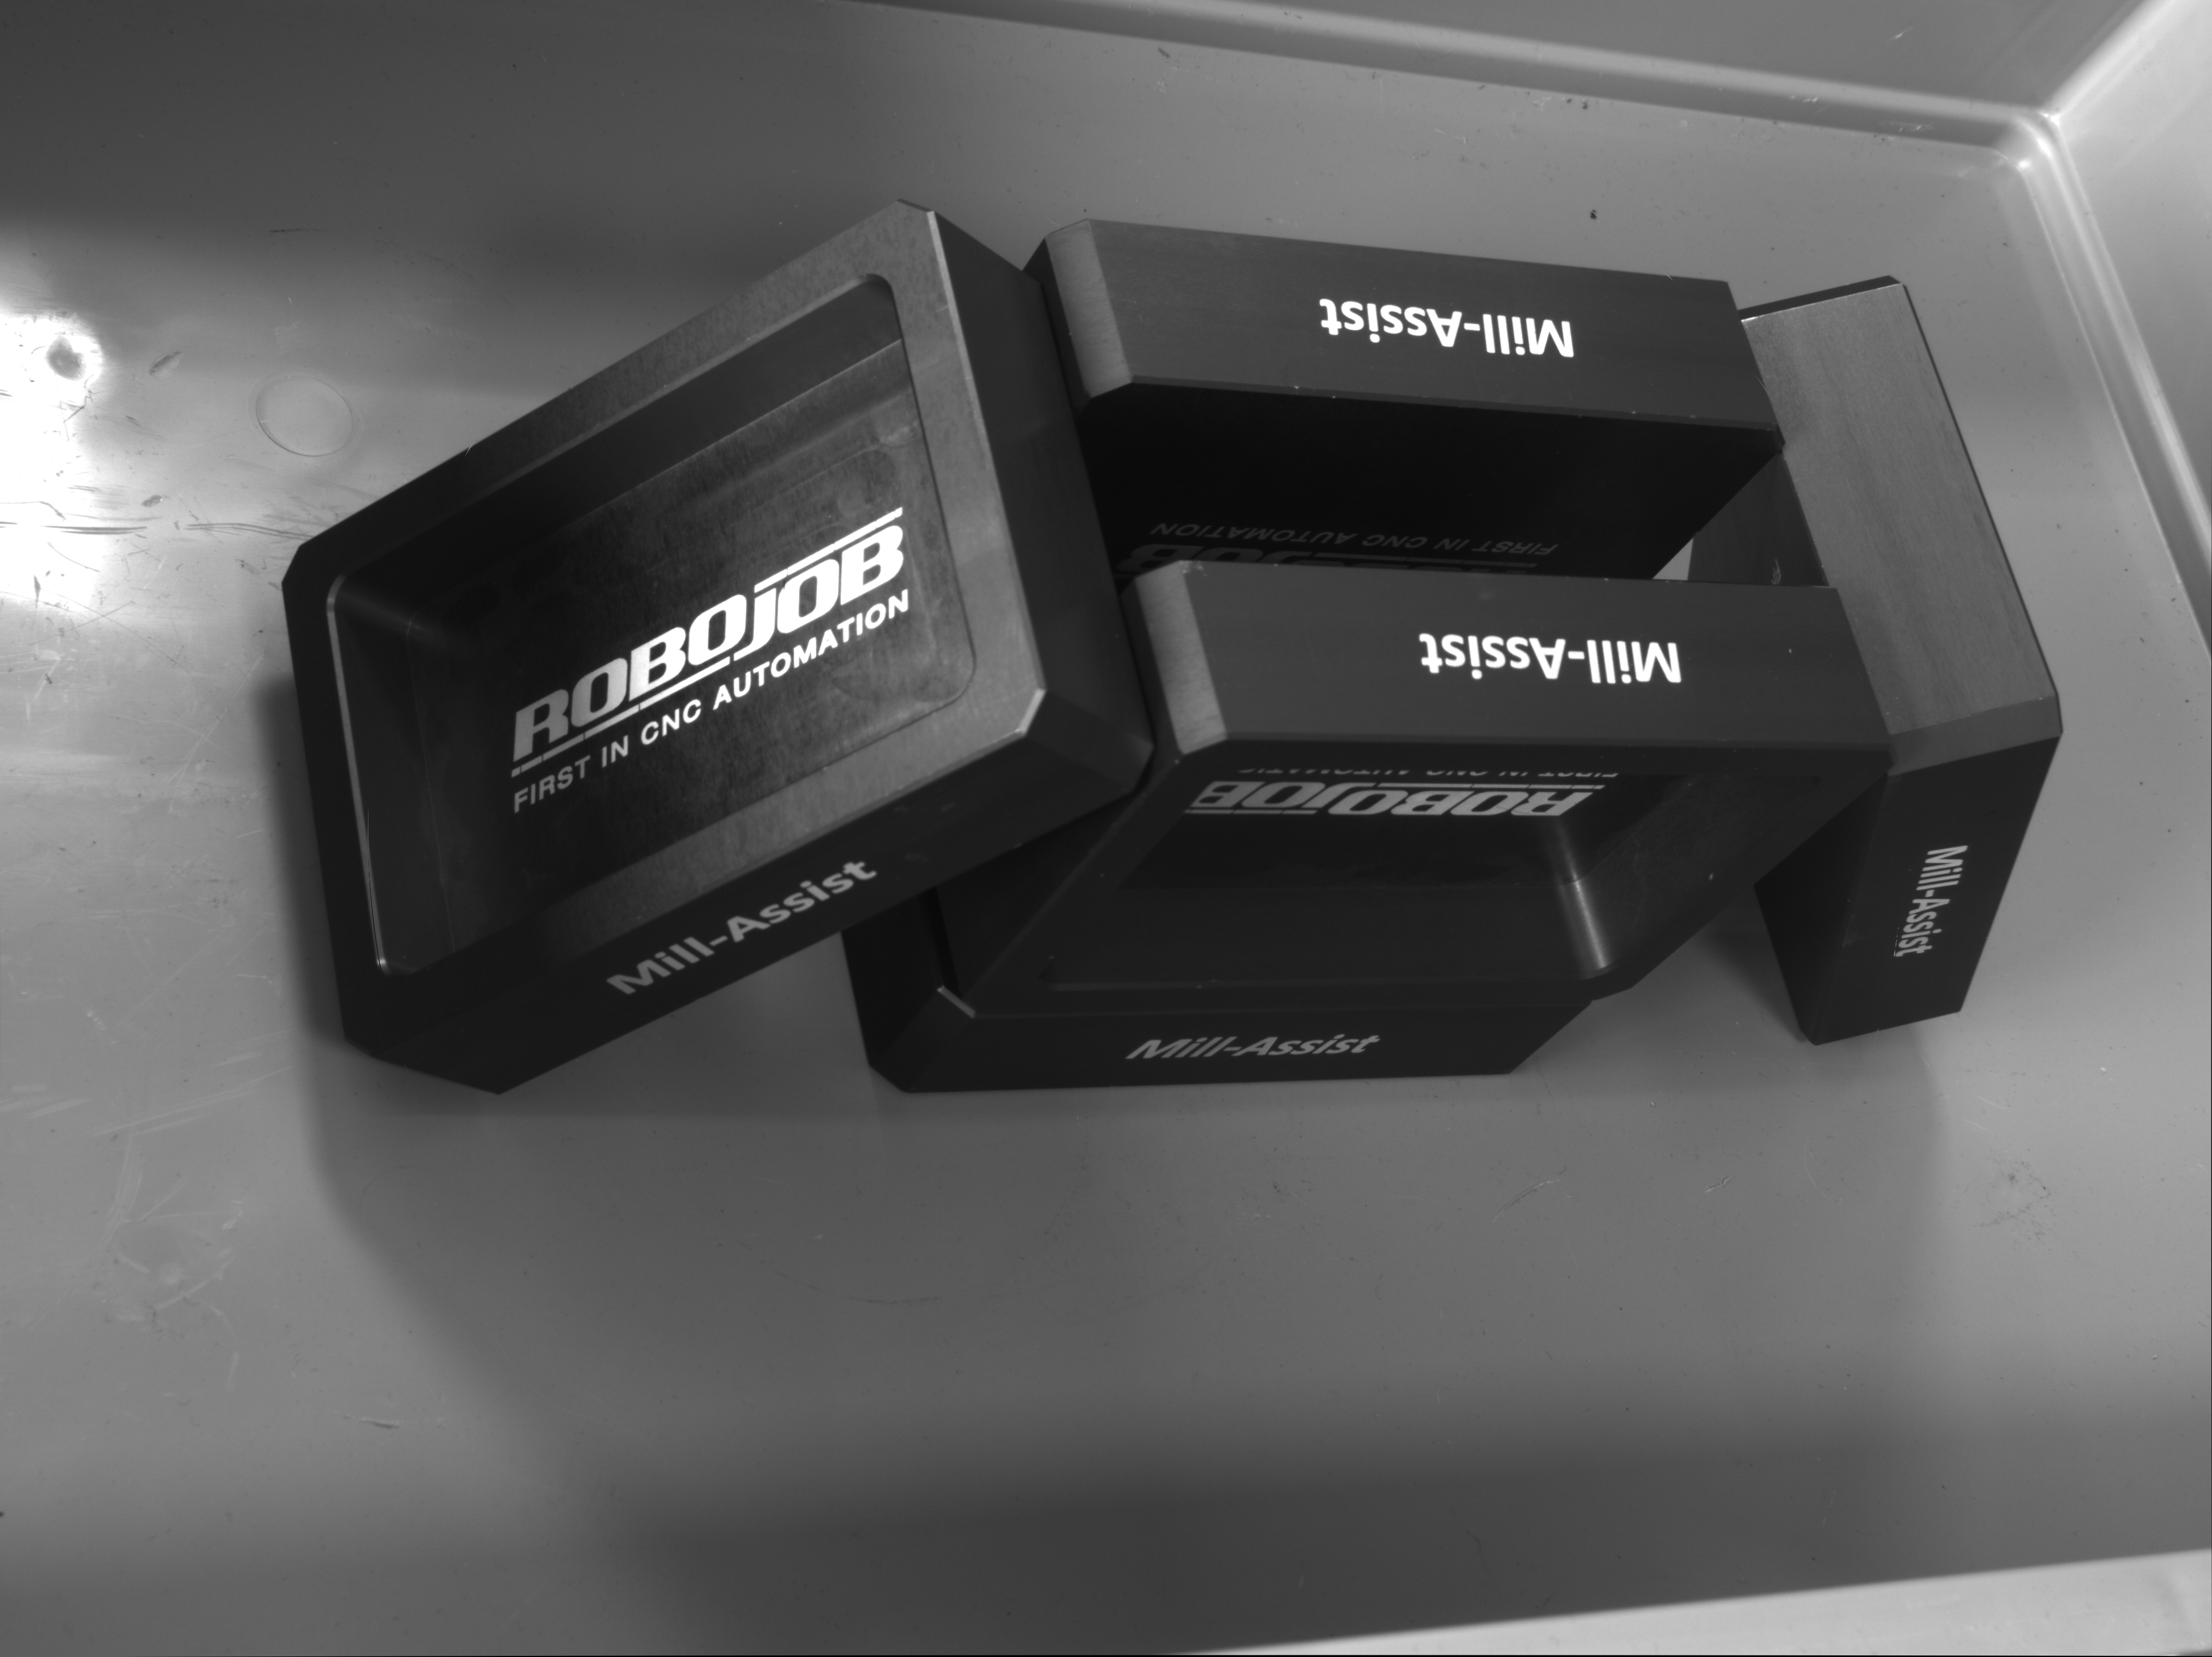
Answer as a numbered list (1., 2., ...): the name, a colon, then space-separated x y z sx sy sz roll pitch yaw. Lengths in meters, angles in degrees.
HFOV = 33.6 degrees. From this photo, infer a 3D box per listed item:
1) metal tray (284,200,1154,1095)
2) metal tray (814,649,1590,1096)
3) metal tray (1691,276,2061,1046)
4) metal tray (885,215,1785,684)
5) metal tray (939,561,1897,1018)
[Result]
1. metal tray: -0.062 -0.025 0.554 0.030 0.130 0.090 26 45 -54
2. metal tray: 0.016 -0.002 0.644 0.130 0.030 0.090 0 62 -29
3. metal tray: 0.134 -0.026 0.659 0.030 0.130 0.090 -13 65 -1
4. metal tray: 0.035 -0.058 0.610 0.130 0.090 0.030 0 61 -28
5. metal tray: 0.048 -0.004 0.585 0.130 0.090 0.030 0 61 -29
